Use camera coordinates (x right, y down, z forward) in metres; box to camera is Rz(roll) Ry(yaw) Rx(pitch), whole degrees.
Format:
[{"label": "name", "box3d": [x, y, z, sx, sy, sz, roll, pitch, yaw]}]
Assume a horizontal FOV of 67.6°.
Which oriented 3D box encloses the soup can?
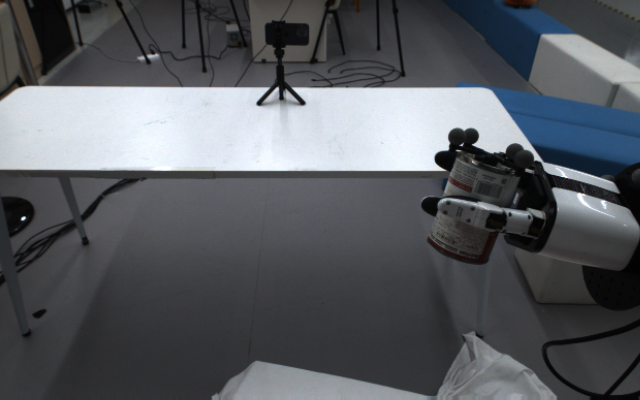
[{"label": "soup can", "box3d": [0.163, 0.006, 0.511, 0.067, 0.101, 0.067, 13, 18, -4]}]
